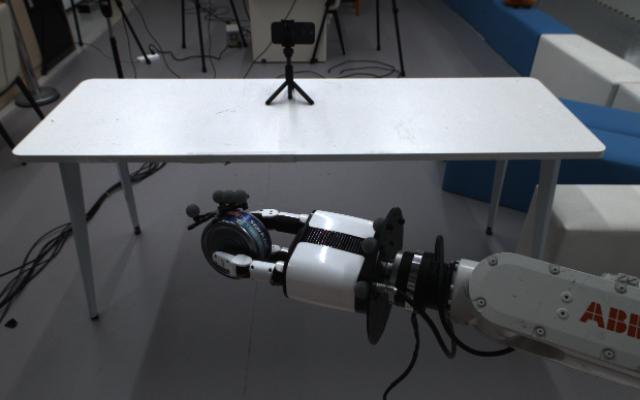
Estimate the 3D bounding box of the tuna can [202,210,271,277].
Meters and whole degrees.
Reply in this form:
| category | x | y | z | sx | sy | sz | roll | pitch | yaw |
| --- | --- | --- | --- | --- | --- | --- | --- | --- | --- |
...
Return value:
| category | x | y | z | sx | sy | sz | roll | pitch | yaw |
| --- | --- | --- | --- | --- | --- | --- | --- | --- | --- |
| tuna can | -0.103 | 0.063 | 0.610 | 0.085 | 0.085 | 0.034 | 15 | 30 | 17 |
